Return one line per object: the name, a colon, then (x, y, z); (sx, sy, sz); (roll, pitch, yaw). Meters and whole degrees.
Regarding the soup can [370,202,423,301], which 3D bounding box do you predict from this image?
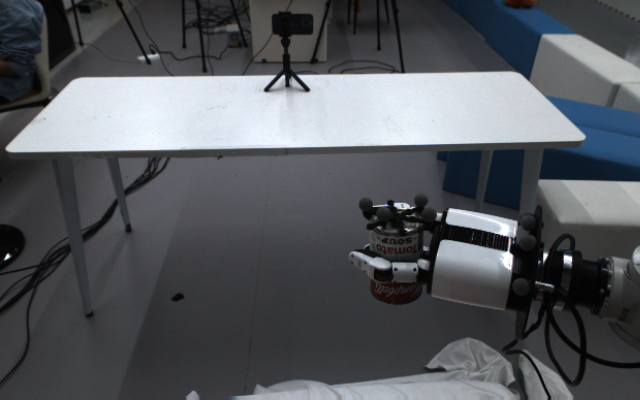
soup can: (0.098, 0.071, 0.610); (0.067, 0.101, 0.067); (-3, 26, 2)
